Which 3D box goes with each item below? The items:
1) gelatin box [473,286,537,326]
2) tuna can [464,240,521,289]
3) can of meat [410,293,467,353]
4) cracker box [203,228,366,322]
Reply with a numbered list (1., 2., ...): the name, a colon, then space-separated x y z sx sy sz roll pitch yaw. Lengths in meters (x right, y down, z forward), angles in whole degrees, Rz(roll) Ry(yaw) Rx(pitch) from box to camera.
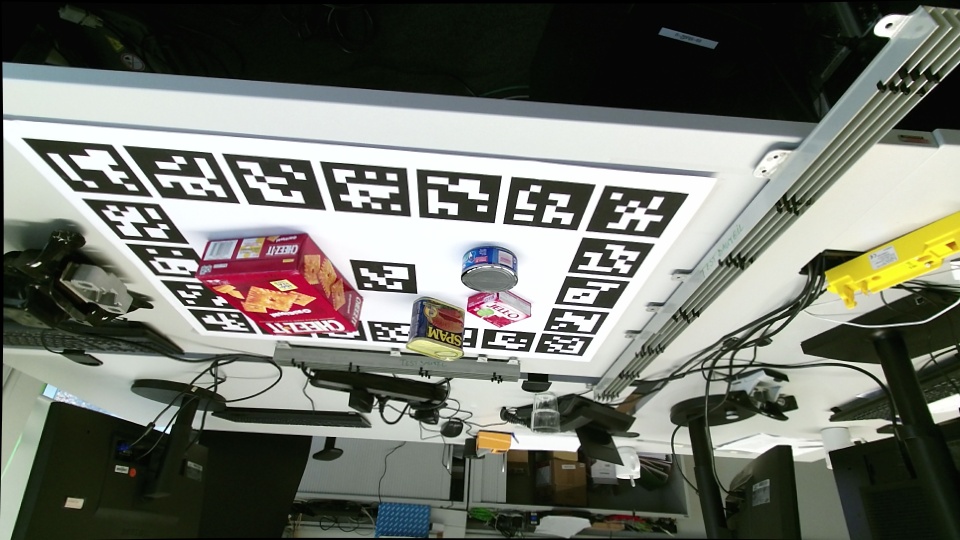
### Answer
1. gelatin box: 0.044 0.063 0.941 0.073 0.030 0.090 -22 139 41
2. tuna can: 0.019 -0.008 0.814 0.086 0.033 0.086 1 146 1
3. can of meat: -0.072 0.095 0.968 0.102 0.083 0.058 20 146 -28
4. cracker box: -0.308 0.020 0.873 0.165 0.071 0.214 -3 150 14
